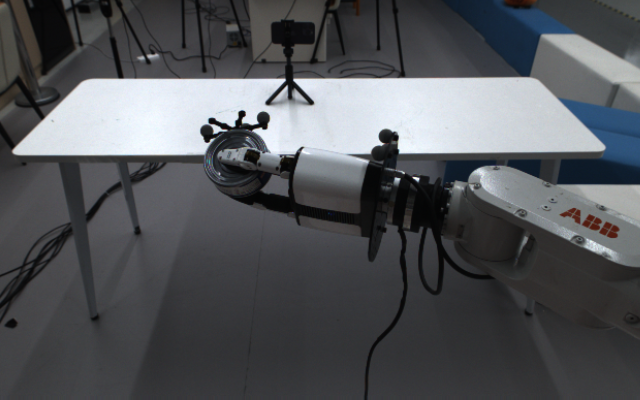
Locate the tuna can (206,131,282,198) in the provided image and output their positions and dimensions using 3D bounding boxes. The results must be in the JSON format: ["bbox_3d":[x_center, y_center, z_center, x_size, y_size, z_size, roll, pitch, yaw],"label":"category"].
[{"bbox_3d":[-0.102,-0.043,0.626,0.085,0.034,0.085,-4,68,9],"label":"tuna can"}]
